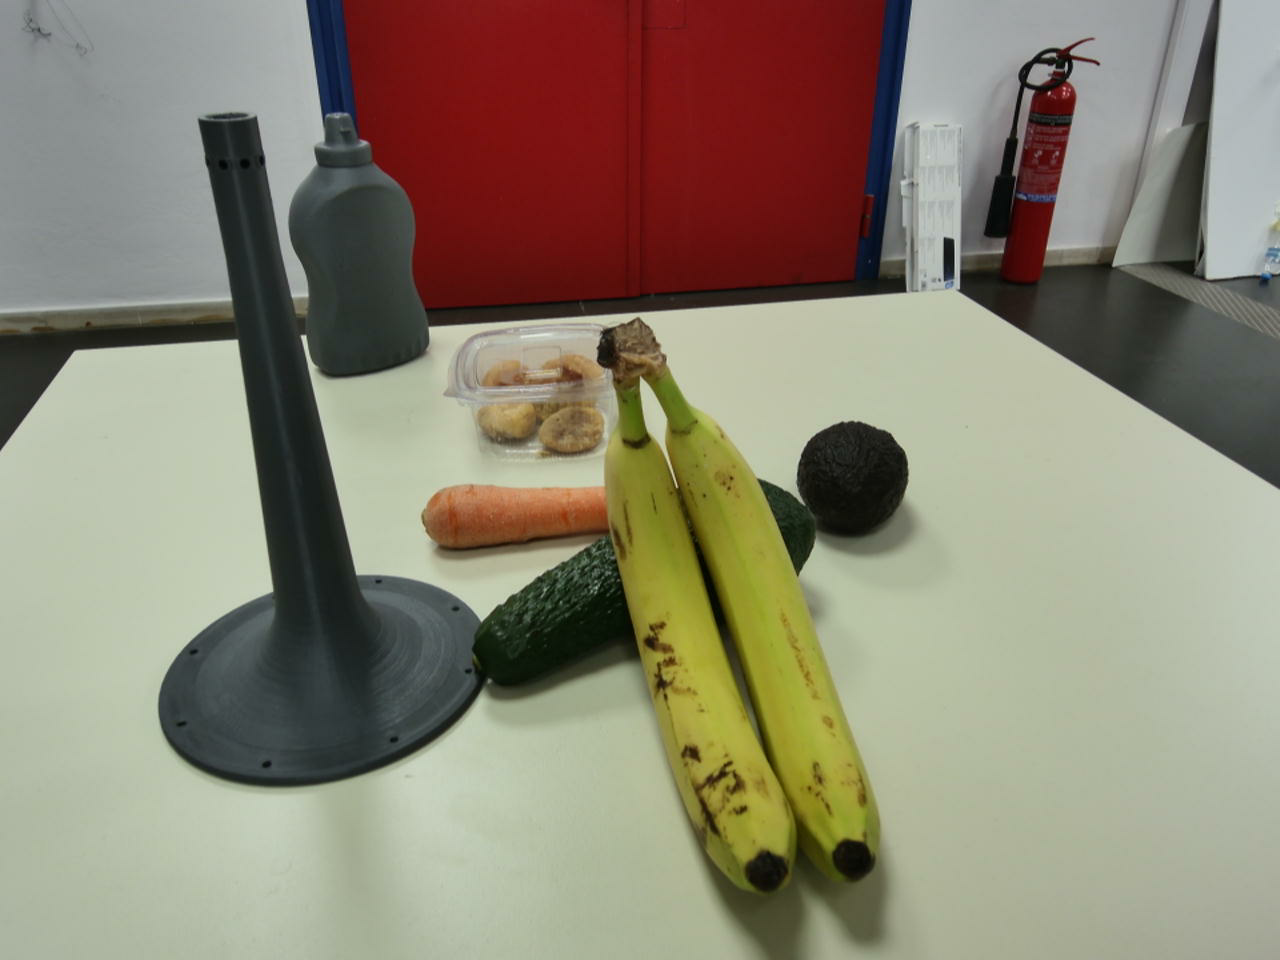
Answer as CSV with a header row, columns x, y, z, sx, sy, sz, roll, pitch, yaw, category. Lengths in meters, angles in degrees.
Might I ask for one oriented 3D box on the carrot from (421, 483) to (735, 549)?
x,y,z,sx,sy,sz,roll,pitch,yaw,category
-0.035,0.016,0.622,0.196,0.041,0.039,-6,27,-11,carrot
